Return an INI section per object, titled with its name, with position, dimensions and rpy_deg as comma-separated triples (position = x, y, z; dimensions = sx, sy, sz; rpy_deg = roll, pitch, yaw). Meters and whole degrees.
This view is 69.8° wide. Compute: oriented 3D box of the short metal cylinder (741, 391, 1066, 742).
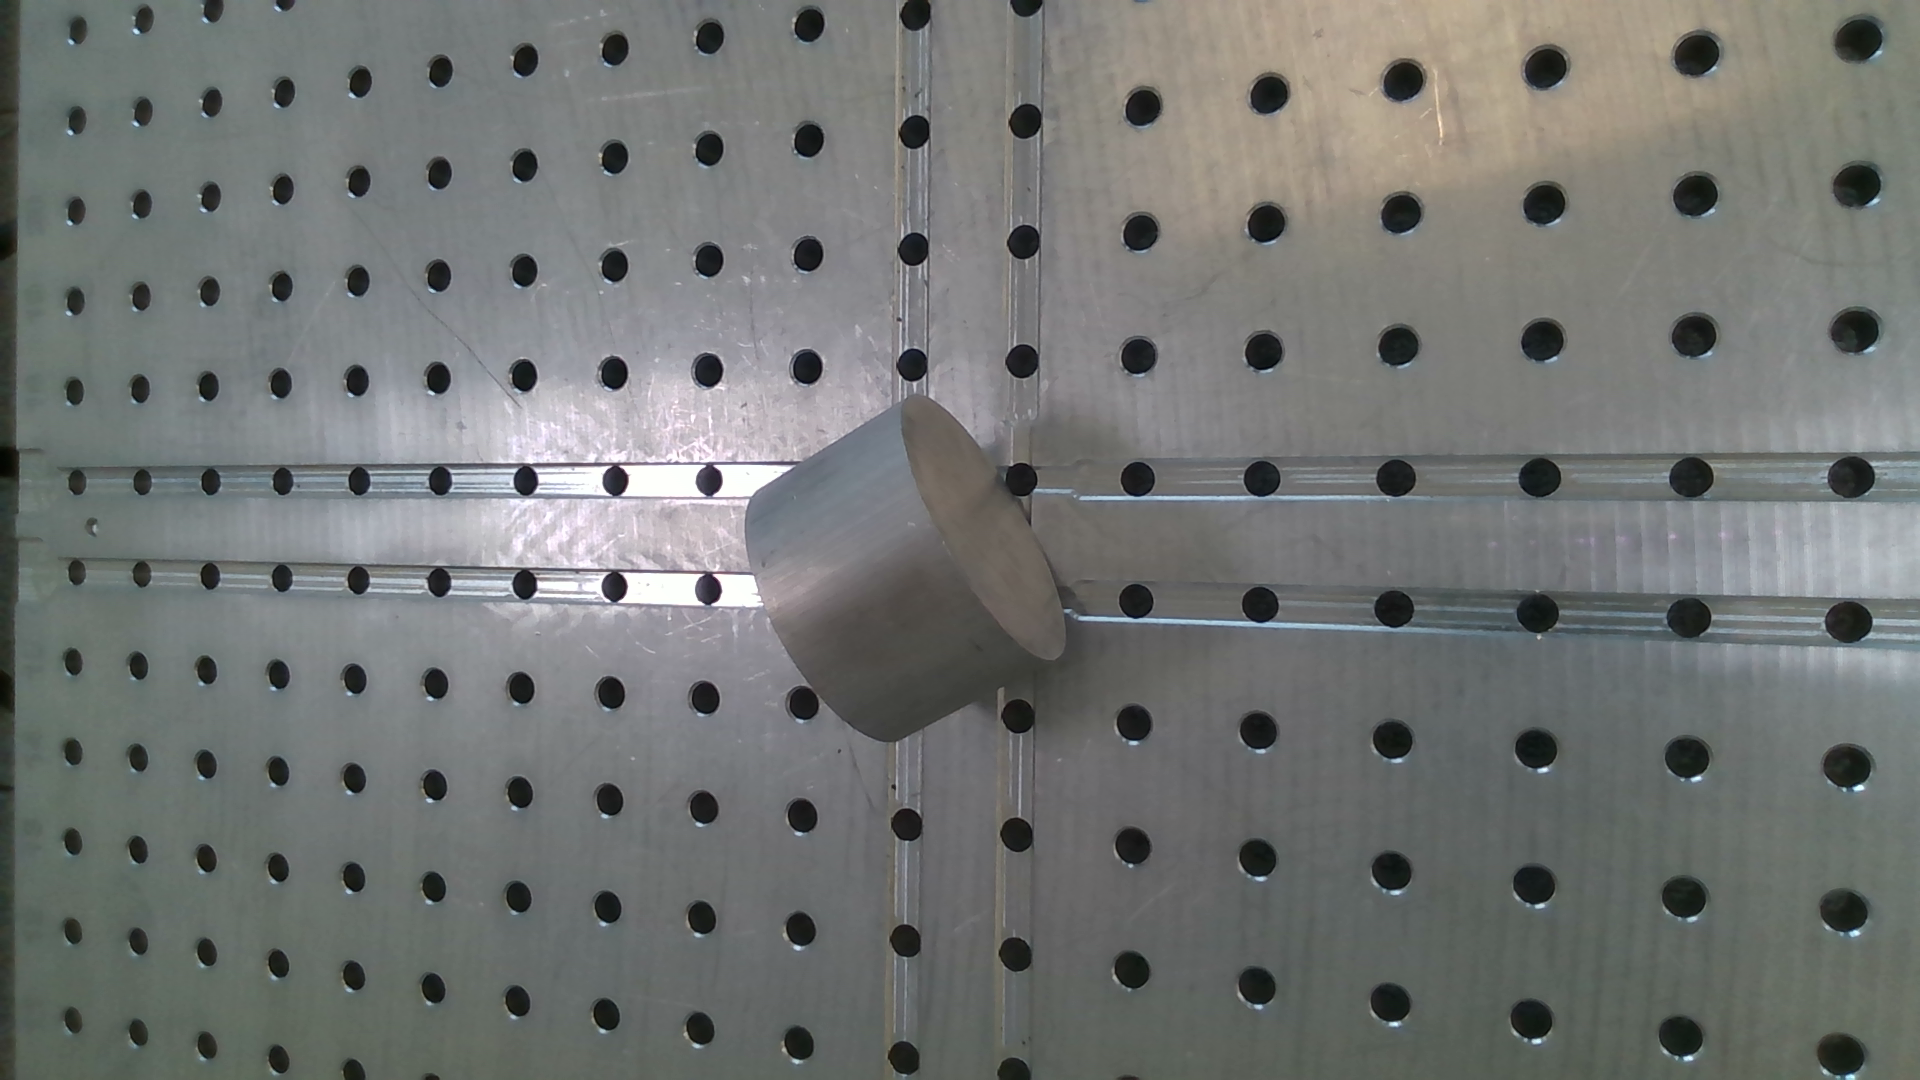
[short metal cylinder]
position = -0.014, 0.007, 0.371
dimensions = 0.050, 0.080, 0.080
rpy_deg = -30, 80, 17
